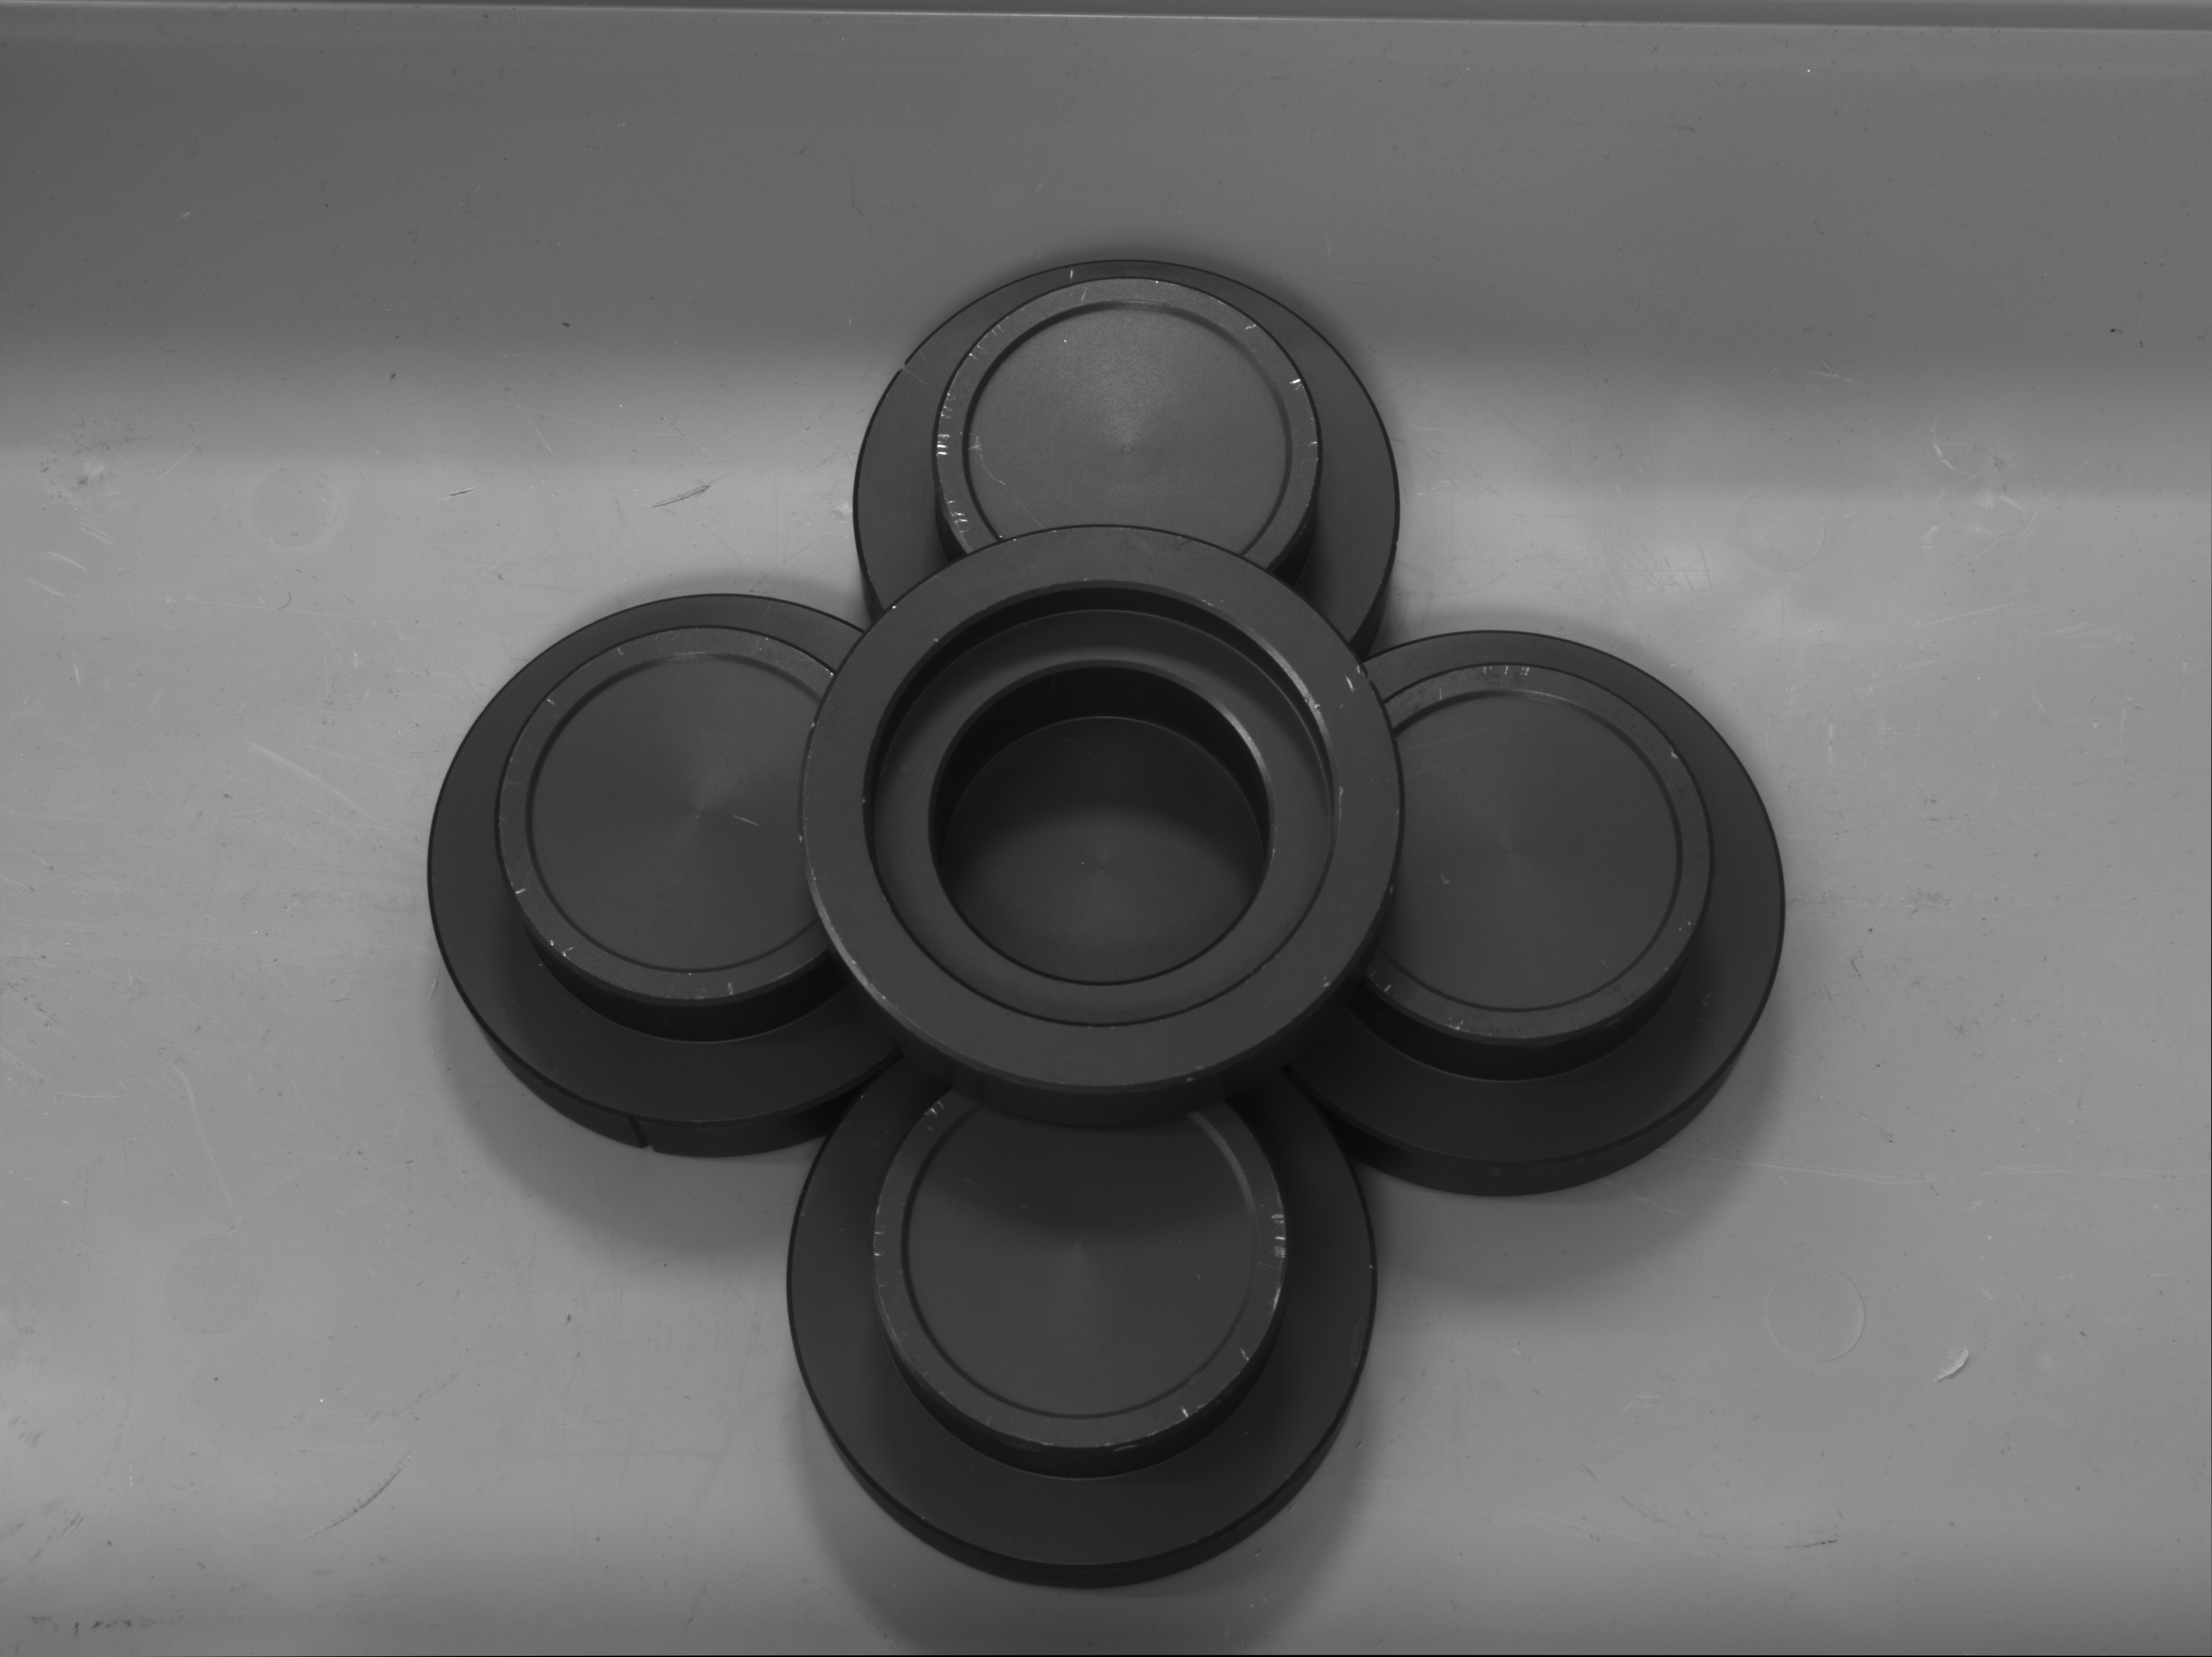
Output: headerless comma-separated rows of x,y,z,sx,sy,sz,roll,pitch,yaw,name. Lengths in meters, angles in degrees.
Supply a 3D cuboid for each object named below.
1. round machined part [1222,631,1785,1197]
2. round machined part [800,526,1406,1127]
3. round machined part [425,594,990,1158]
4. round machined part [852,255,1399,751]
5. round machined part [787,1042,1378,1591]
0.068,0.011,0.630,0.098,0.042,0.098,0,70,0,round machined part
0.000,0.003,0.611,0.098,0.042,0.098,0,70,0,round machined part
-0.068,0.004,0.632,0.098,0.042,0.098,0,70,0,round machined part
0.004,-0.059,0.655,0.098,0.042,0.098,0,70,0,round machined part
-0.004,0.073,0.607,0.098,0.042,0.098,0,68,-1,round machined part
